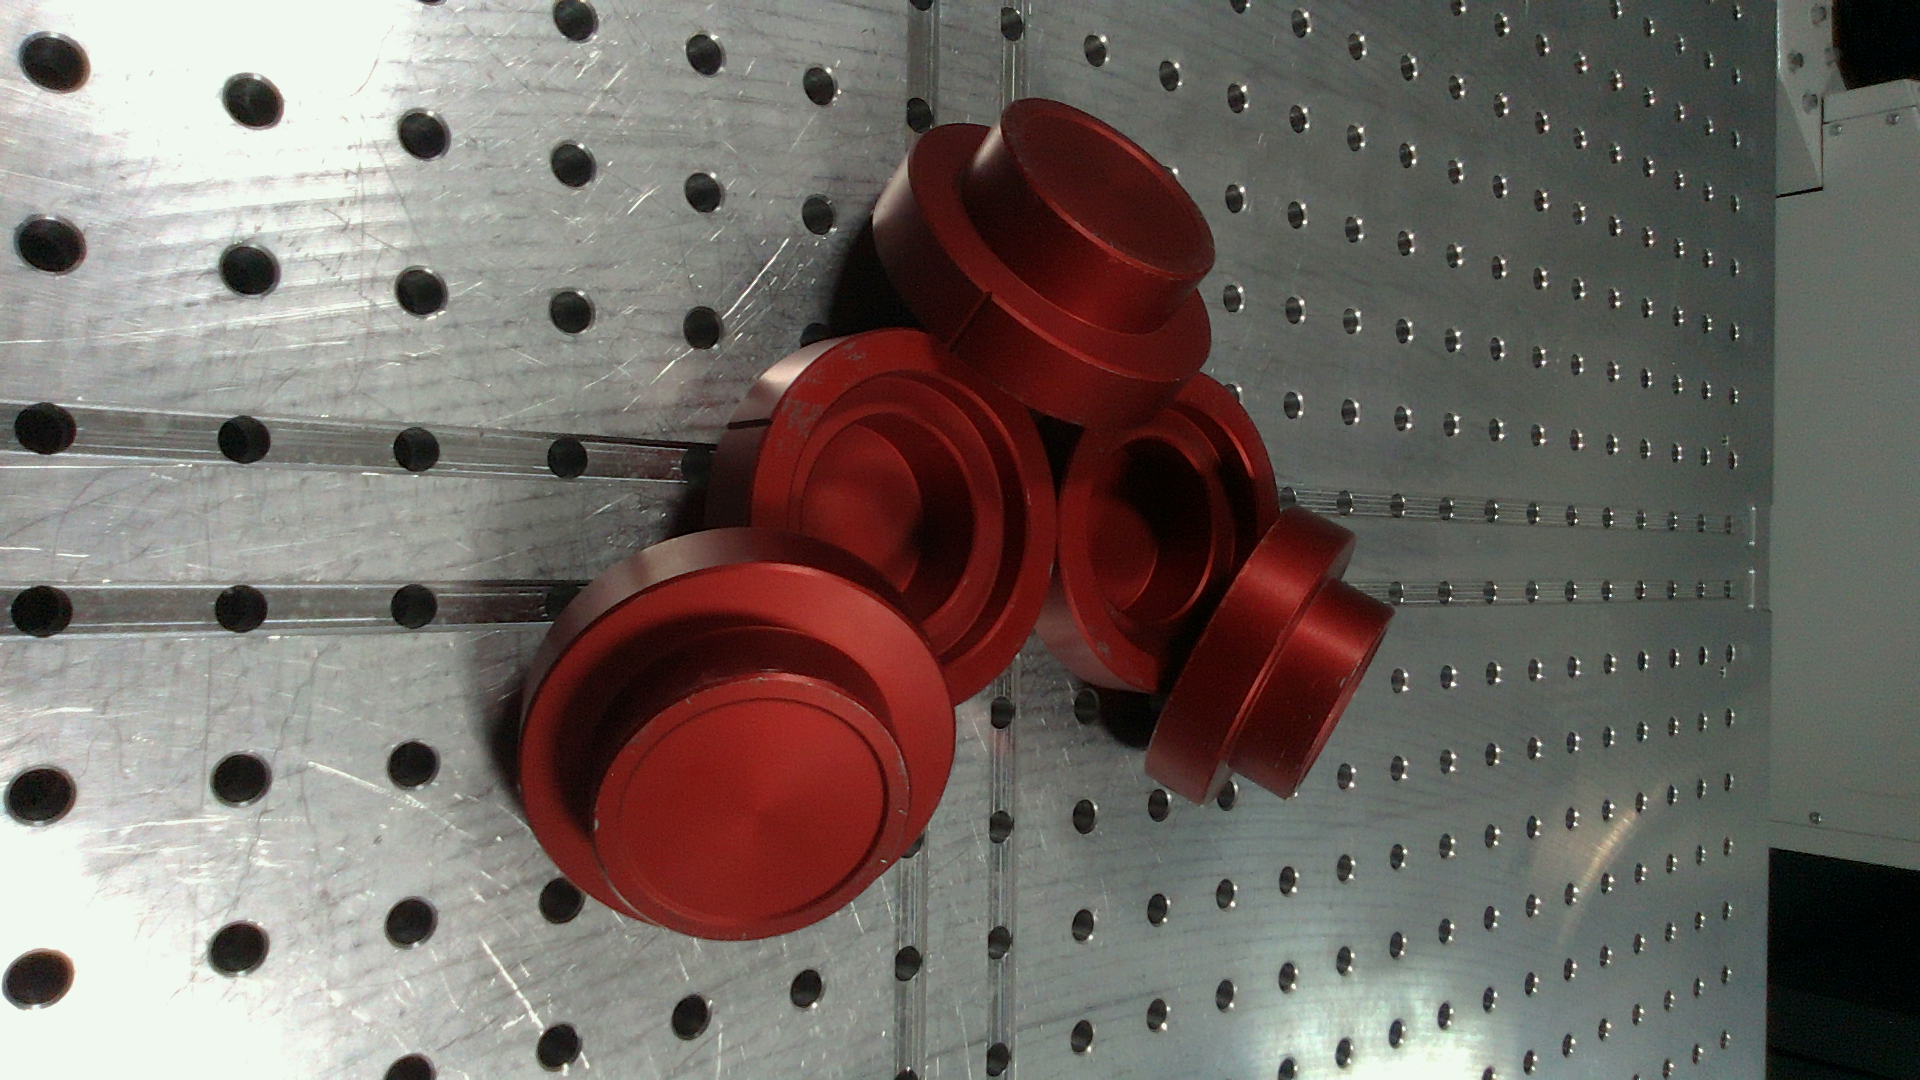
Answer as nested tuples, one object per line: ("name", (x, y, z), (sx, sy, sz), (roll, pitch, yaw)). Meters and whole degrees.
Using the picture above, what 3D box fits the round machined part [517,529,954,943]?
("round machined part", (-0.049, 0.050, 0.310), (0.098, 0.042, 0.098), (-6, 116, -12))

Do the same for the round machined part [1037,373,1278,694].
("round machined part", (0.052, -0.003, 0.424), (0.098, 0.042, 0.098), (0, 90, -40))

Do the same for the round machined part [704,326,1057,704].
("round machined part", (-0.024, -0.004, 0.360), (0.098, 0.042, 0.098), (0, 90, -40))

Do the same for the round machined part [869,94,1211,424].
("round machined part", (0.028, -0.081, 0.371), (0.098, 0.042, 0.098), (23, 40, -21))

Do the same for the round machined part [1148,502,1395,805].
("round machined part", (0.101, 0.041, 0.430), (0.098, 0.042, 0.098), (-50, 157, -29))
